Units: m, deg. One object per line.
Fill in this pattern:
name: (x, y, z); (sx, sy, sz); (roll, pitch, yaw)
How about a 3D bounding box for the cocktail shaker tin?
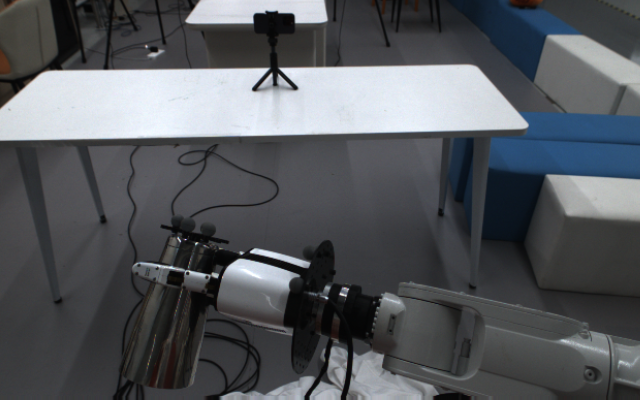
cocktail shaker tin: (-0.180, 0.134, 0.607); (0.093, 0.170, 0.093); (15, -5, 1)
